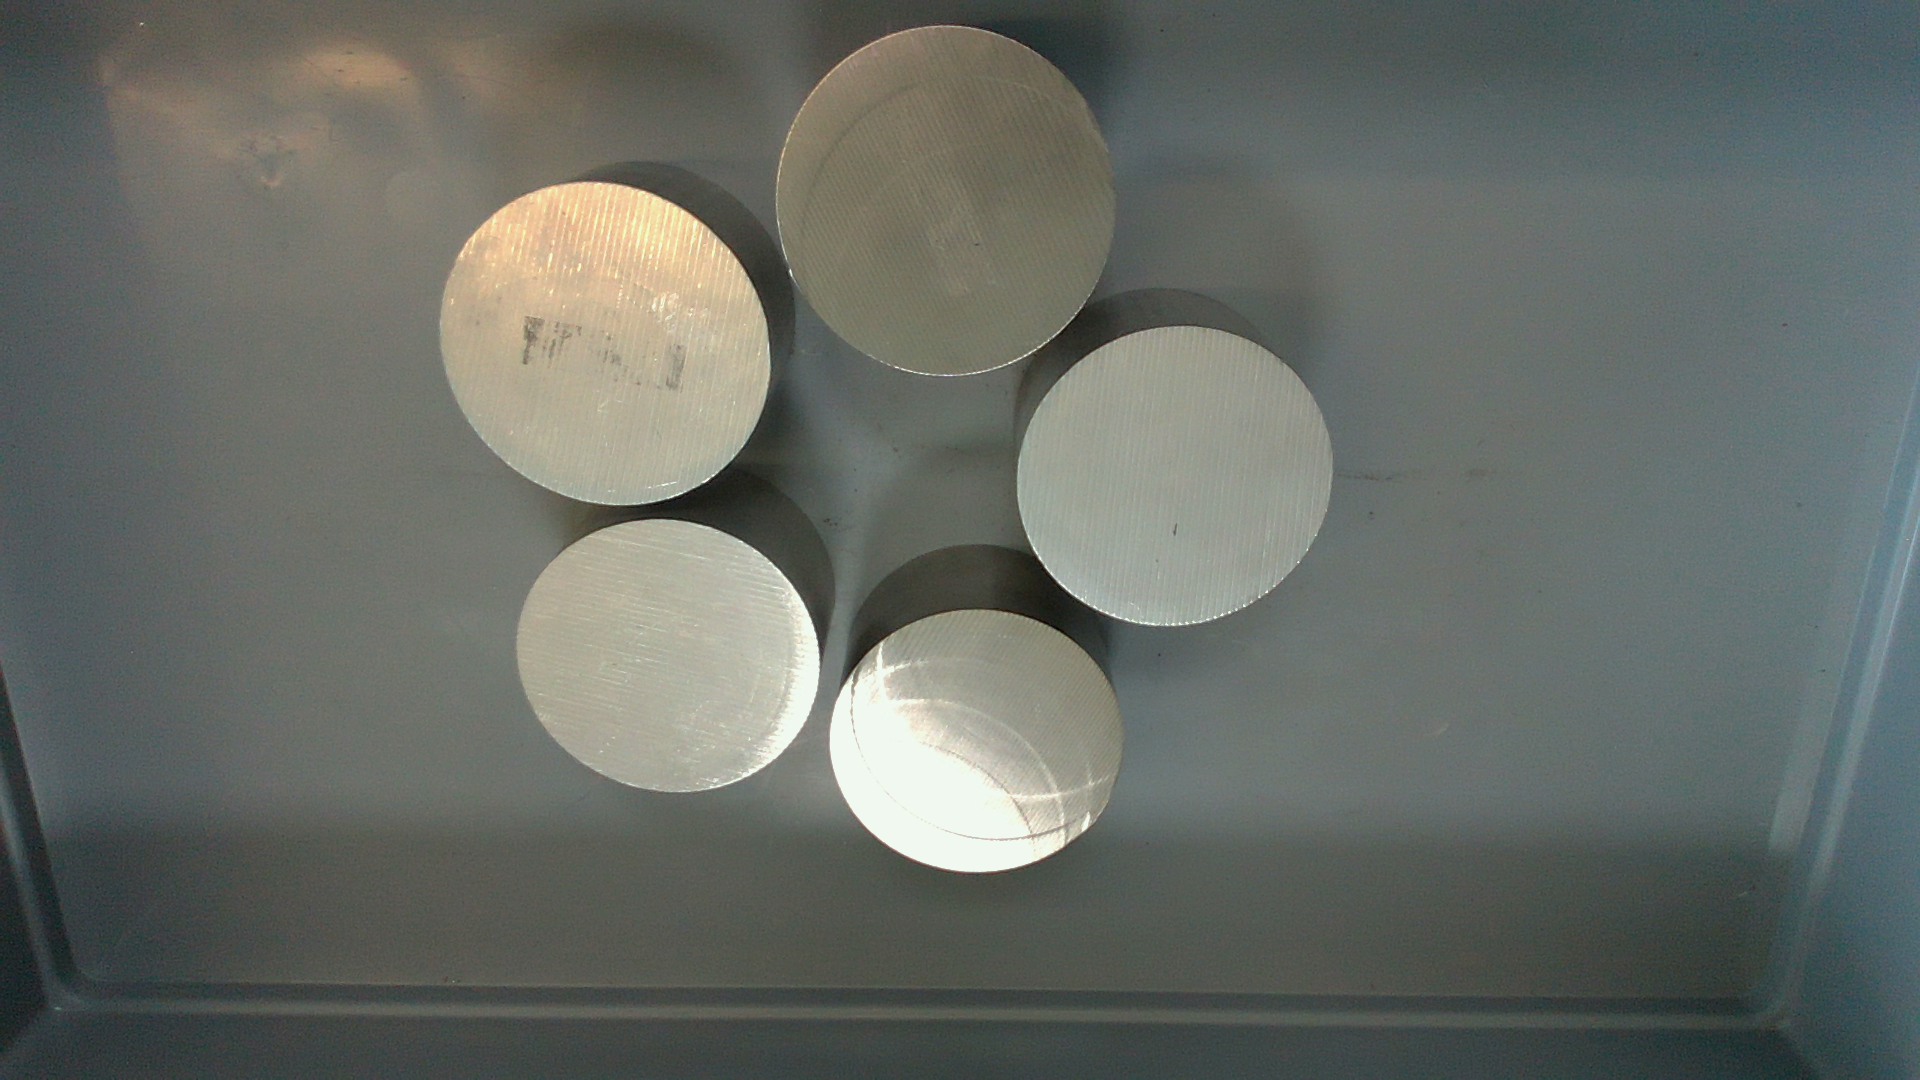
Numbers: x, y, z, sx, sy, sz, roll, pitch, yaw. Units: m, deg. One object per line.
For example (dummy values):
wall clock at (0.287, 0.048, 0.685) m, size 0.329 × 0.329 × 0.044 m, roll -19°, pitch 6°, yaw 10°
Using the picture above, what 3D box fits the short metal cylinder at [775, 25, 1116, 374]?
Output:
short metal cylinder at (-0.003, -0.087, 0.347) m, size 0.080 × 0.050 × 0.080 m, roll 0°, pitch 110°, yaw 0°

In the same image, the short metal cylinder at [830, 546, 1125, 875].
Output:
short metal cylinder at (0.005, 0.048, 0.397) m, size 0.080 × 0.050 × 0.080 m, roll 0°, pitch 110°, yaw 0°

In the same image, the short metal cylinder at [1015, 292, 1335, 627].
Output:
short metal cylinder at (0.055, -0.023, 0.371) m, size 0.080 × 0.050 × 0.080 m, roll 0°, pitch 110°, yaw 0°

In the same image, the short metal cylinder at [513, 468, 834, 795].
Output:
short metal cylinder at (-0.078, 0.024, 0.387) m, size 0.080 × 0.050 × 0.080 m, roll 0°, pitch 110°, yaw 0°

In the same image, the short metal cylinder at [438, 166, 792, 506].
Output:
short metal cylinder at (-0.087, -0.055, 0.358) m, size 0.080 × 0.050 × 0.080 m, roll 0°, pitch 110°, yaw 0°
